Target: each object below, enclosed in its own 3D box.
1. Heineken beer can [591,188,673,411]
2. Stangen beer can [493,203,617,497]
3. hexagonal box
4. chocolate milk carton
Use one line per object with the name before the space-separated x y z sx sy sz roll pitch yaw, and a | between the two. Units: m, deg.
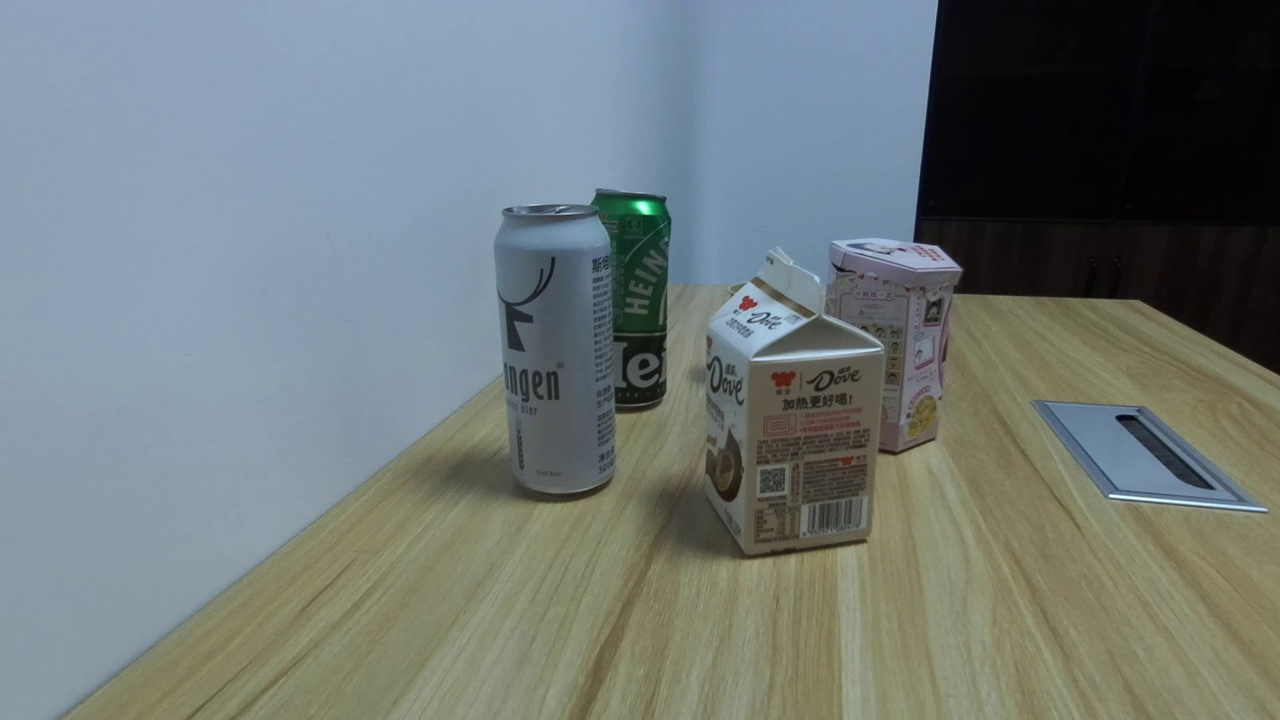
Heineken beer can | -0.007 -0.046 0.557 0.069 0.168 0.068 6 14 13
Stangen beer can | -0.049 -0.005 0.426 0.067 0.171 0.067 -1 17 1
hexagonal box | 0.169 -0.012 0.497 0.085 0.135 0.092 -1 18 -1
chocolate milk carton | 0.080 0.018 0.378 0.074 0.148 0.075 -6 19 -10
